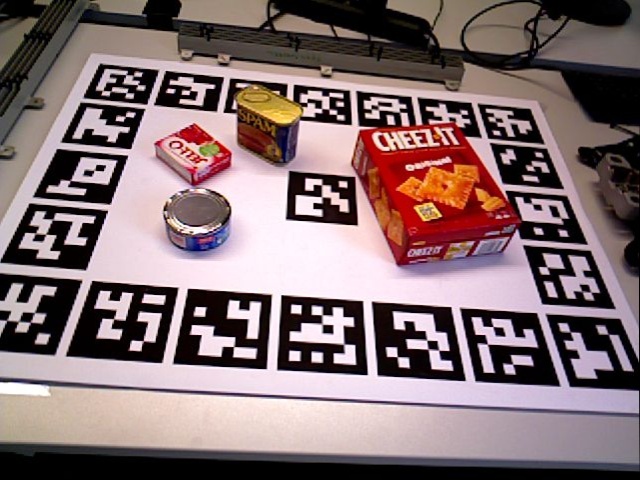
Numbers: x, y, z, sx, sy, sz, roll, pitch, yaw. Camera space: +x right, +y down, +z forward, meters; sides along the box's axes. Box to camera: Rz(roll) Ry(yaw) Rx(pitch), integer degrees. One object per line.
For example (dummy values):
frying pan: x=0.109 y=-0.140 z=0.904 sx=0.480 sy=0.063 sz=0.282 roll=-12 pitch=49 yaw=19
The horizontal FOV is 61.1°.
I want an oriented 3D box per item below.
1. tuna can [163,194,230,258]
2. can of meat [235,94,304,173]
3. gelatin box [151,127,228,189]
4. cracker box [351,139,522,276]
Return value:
tuna can: x=-0.160 y=-0.018 z=0.707 sx=0.085 sy=0.034 sz=0.084 roll=3 pitch=52 yaw=-5
can of meat: x=-0.079 y=-0.160 z=0.825 sx=0.102 sy=0.086 sz=0.056 roll=28 pitch=49 yaw=16
gelatin box: x=-0.193 y=-0.124 z=0.801 sx=0.089 sy=0.031 sz=0.071 roll=39 pitch=51 yaw=20
cracker box: x=0.159 y=-0.056 z=0.778 sx=0.162 sy=0.074 sz=0.211 roll=-7 pitch=49 yaw=-17
